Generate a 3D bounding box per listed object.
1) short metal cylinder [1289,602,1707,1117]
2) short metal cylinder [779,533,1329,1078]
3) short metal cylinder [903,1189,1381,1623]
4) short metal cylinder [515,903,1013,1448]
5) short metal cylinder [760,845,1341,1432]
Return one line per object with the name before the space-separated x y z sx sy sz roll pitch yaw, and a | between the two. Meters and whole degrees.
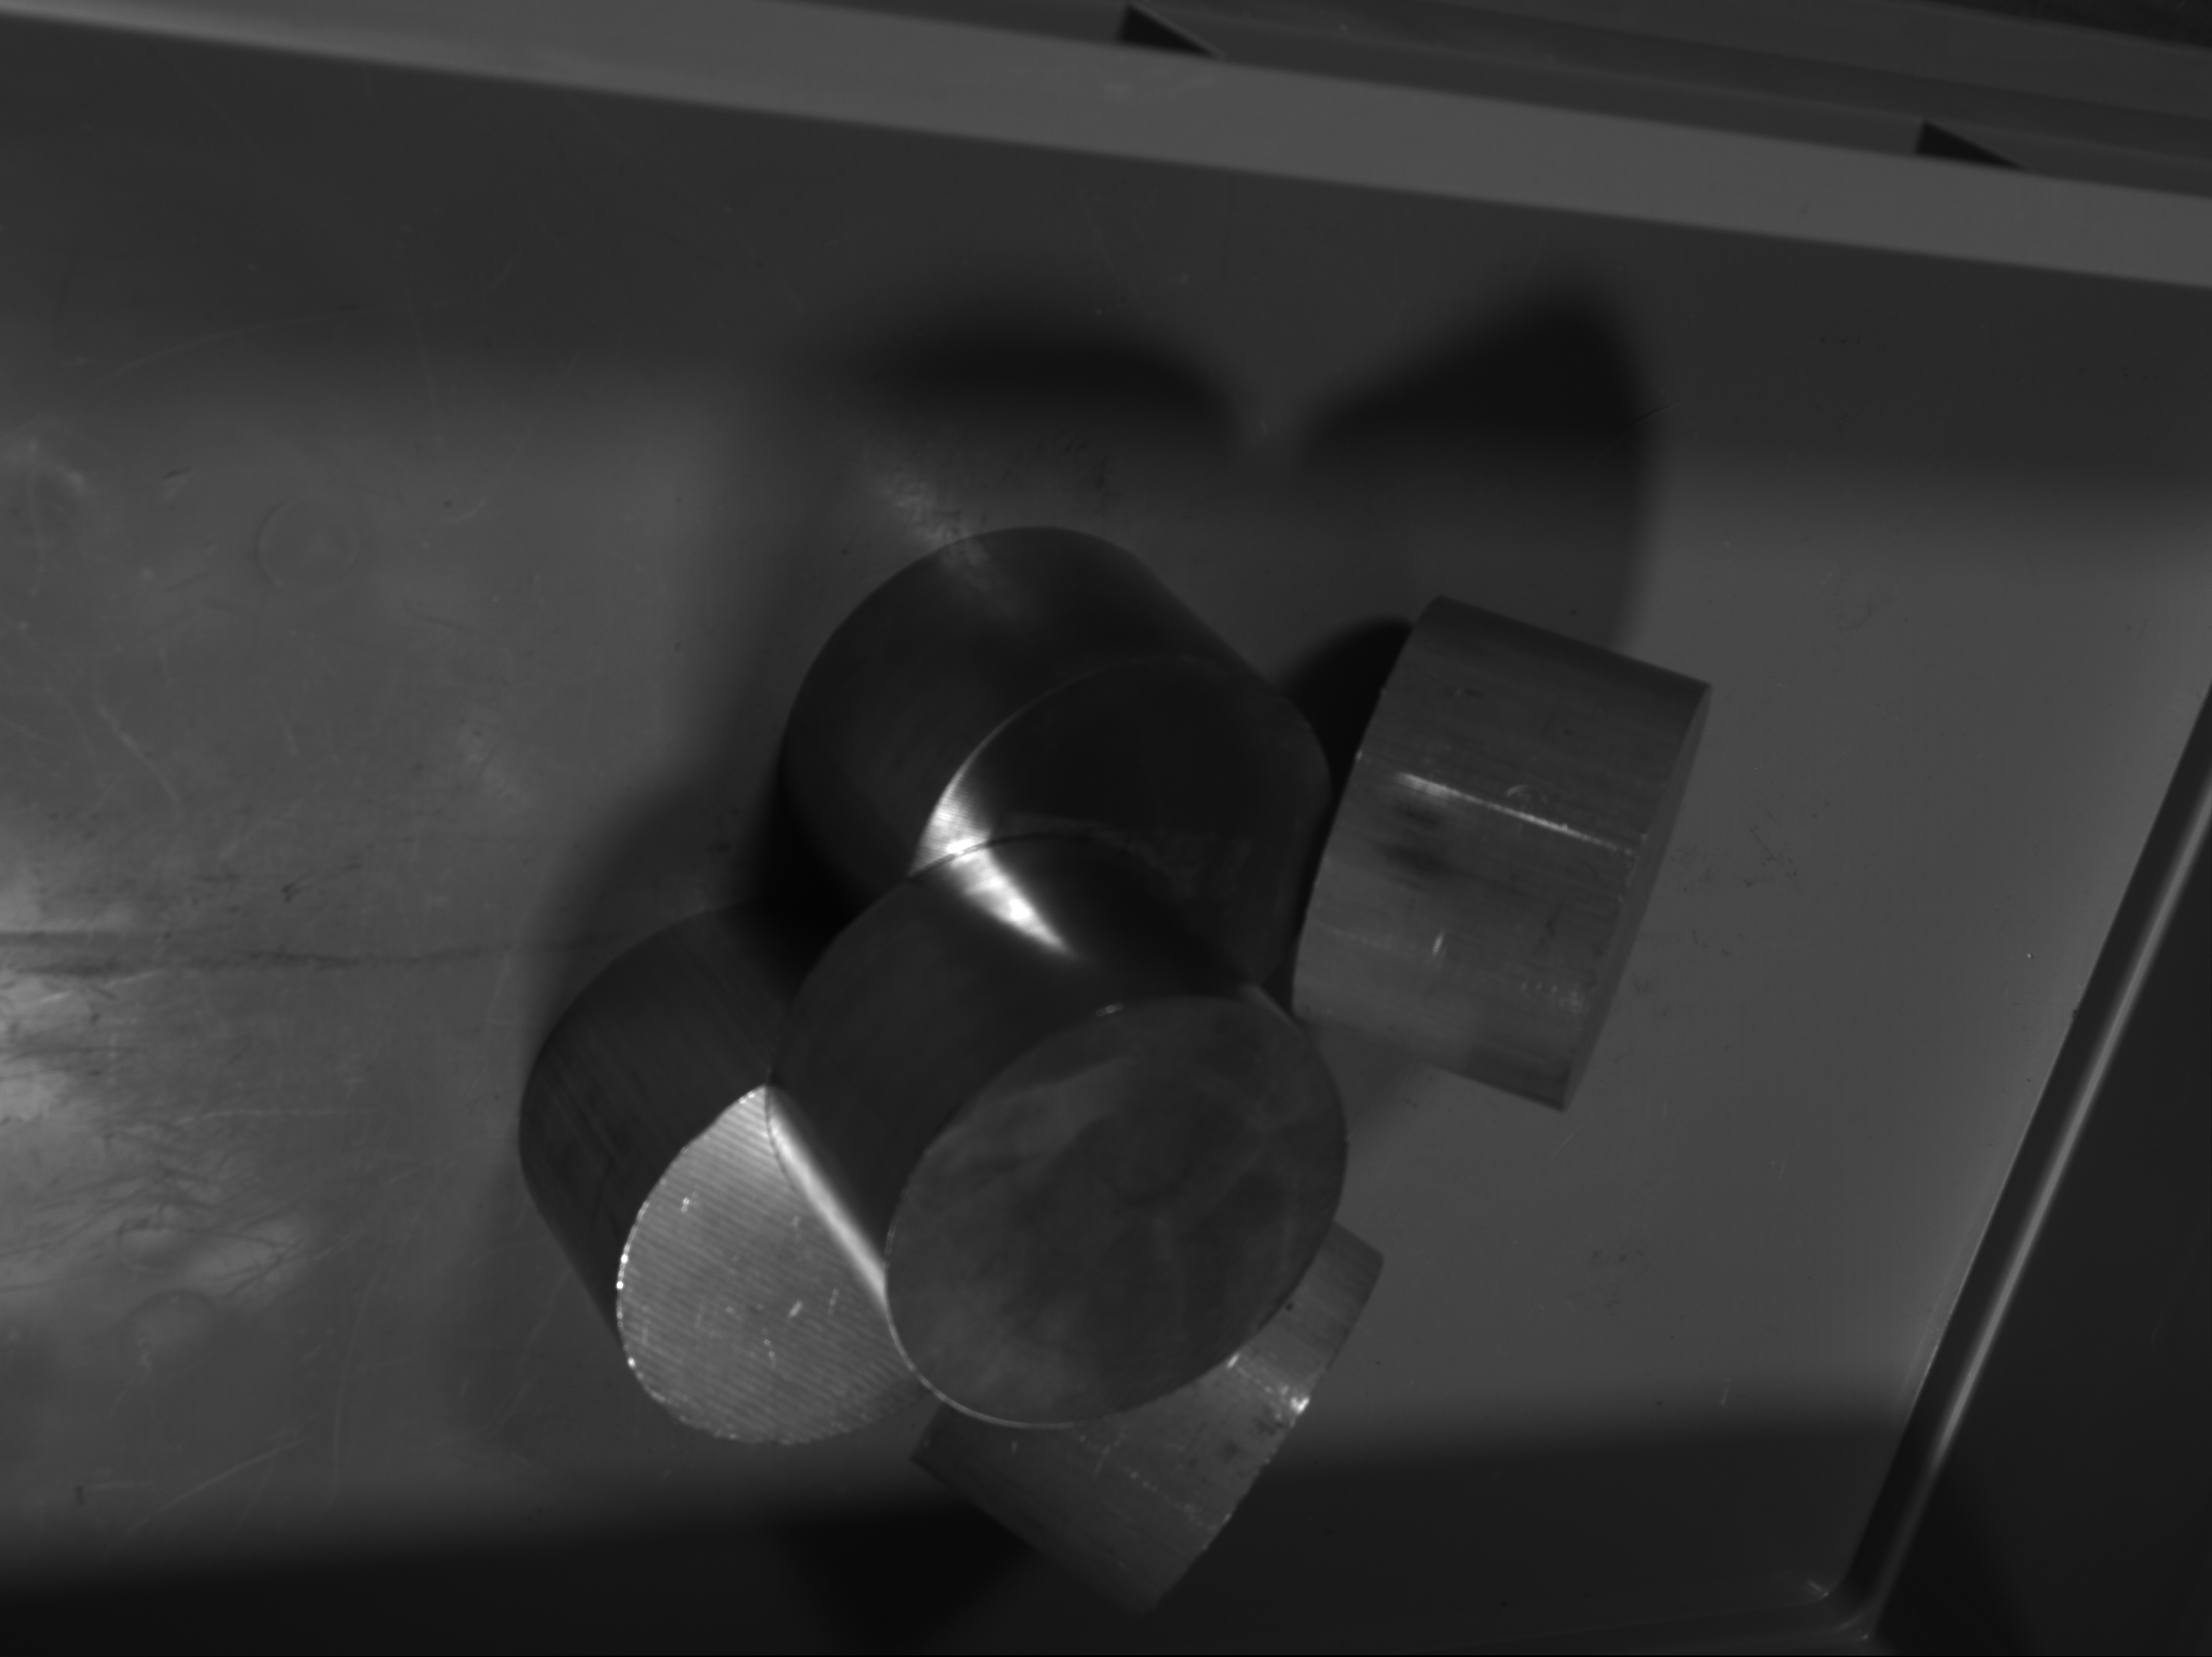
short metal cylinder | 0.070 0.005 0.650 0.080 0.050 0.080 19 90 -78
short metal cylinder | -0.009 -0.004 0.625 0.080 0.050 0.080 -15 125 -22
short metal cylinder | 0.007 0.097 0.668 0.050 0.080 0.080 35 100 1
short metal cylinder | -0.057 0.060 0.638 0.080 0.050 0.080 -15 125 -22
short metal cylinder | -0.009 0.050 0.591 0.080 0.050 0.080 -15 125 -22
